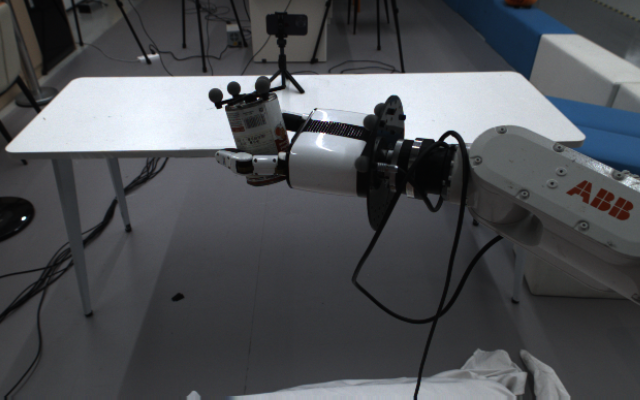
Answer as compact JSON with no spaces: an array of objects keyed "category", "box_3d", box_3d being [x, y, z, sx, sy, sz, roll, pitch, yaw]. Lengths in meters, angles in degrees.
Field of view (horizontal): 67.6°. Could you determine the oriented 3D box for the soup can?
[{"category":"soup can","box_3d":[-0.071,-0.075,0.607,0.067,0.101,0.067,-13,19,5]}]
